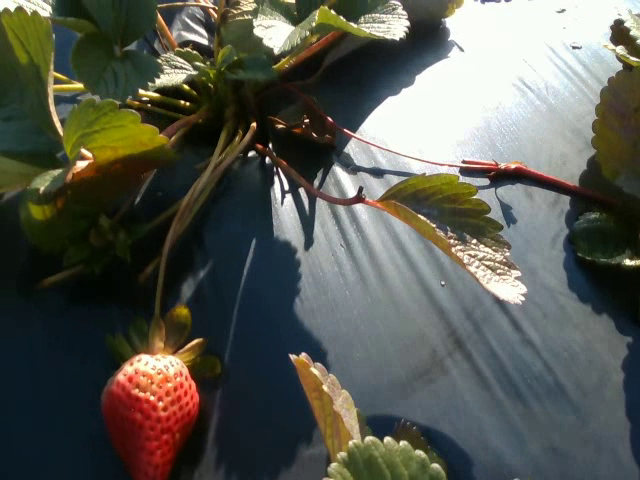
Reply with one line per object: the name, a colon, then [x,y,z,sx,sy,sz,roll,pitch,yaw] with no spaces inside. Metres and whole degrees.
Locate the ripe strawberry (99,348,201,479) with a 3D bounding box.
ripe strawberry: [-0.063,0.068,0.224,0.043,0.064,0.044,24,-52,-39]
